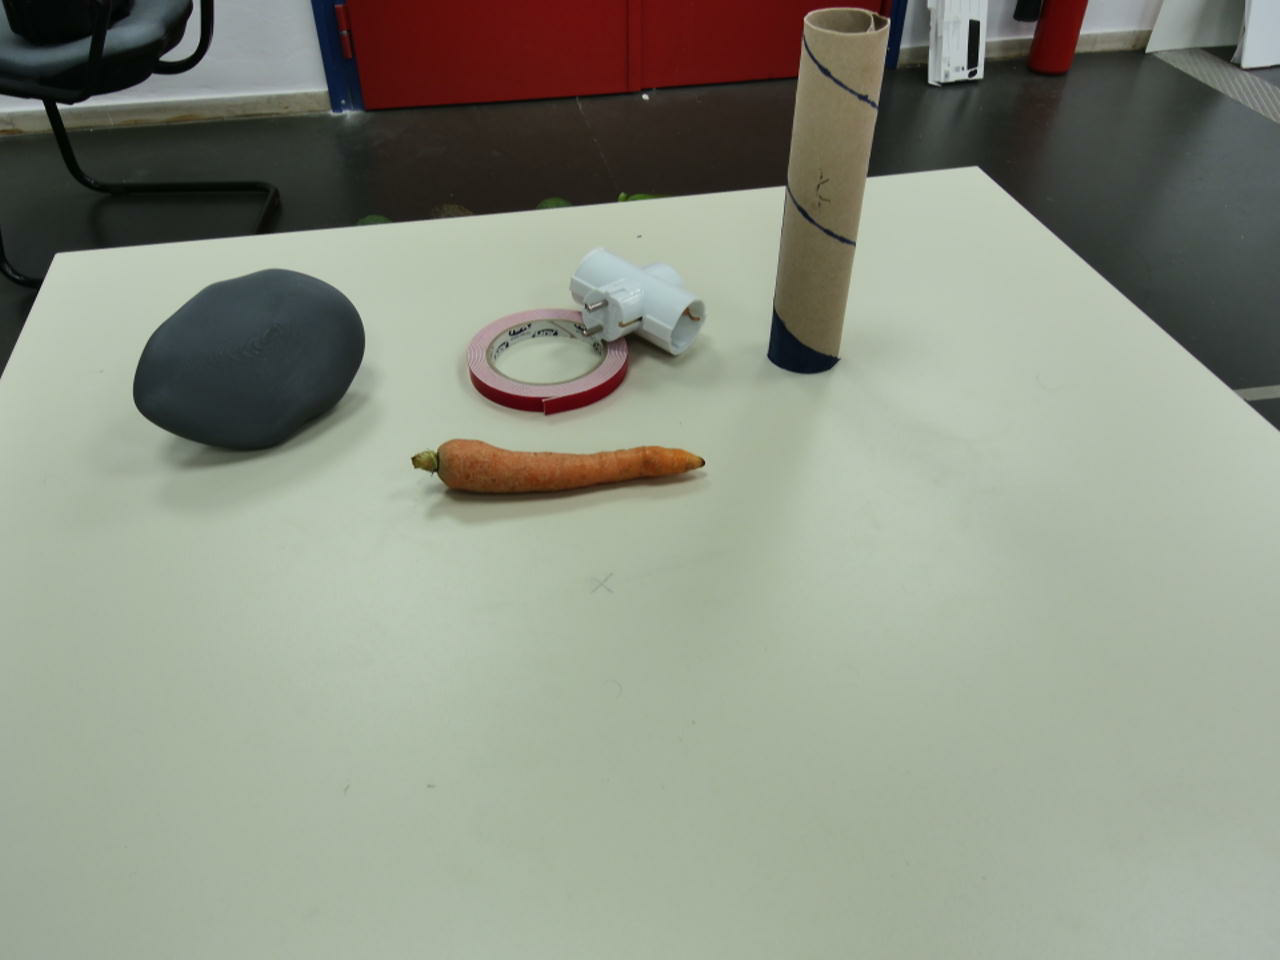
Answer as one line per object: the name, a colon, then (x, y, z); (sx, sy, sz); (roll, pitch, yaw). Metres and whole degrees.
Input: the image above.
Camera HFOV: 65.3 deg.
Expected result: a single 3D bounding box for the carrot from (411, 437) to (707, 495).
carrot: (-0.044, -0.010, 0.580); (0.173, 0.032, 0.030); (-2, 39, -2)
